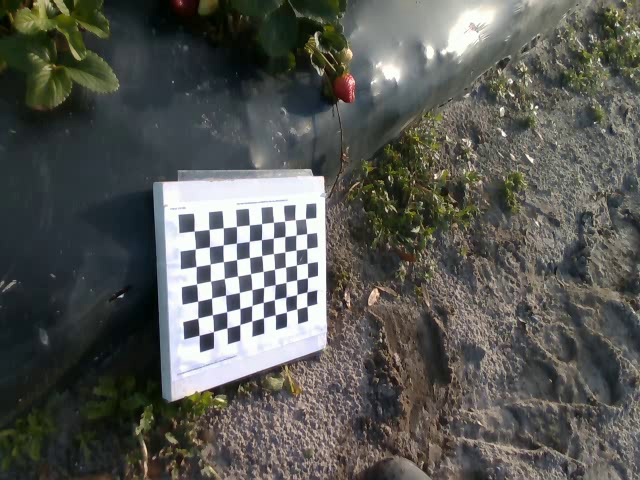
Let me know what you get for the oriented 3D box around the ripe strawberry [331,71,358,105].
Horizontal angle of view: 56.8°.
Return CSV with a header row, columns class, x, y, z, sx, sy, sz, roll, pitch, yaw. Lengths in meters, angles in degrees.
class,x,y,z,sx,sy,sz,roll,pitch,yaw
ripe strawberry,0.046,-0.248,0.966,0.034,0.050,0.047,-1,26,46
